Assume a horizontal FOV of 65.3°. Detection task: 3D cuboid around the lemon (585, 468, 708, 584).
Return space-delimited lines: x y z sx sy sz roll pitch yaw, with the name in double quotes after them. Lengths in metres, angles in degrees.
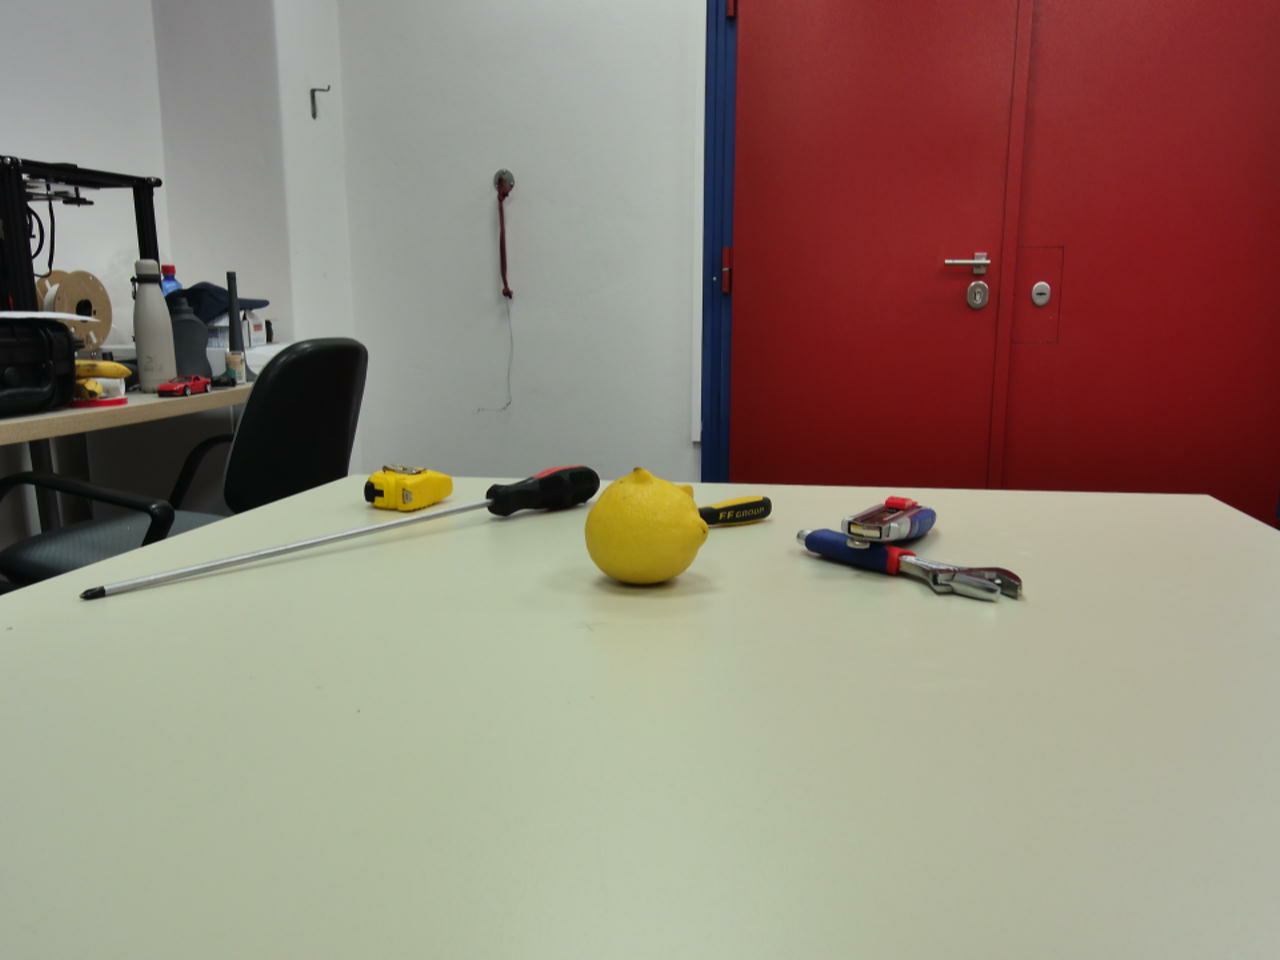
0.002 0.028 0.613 0.070 0.071 0.071 -4 8 -22 "lemon"
